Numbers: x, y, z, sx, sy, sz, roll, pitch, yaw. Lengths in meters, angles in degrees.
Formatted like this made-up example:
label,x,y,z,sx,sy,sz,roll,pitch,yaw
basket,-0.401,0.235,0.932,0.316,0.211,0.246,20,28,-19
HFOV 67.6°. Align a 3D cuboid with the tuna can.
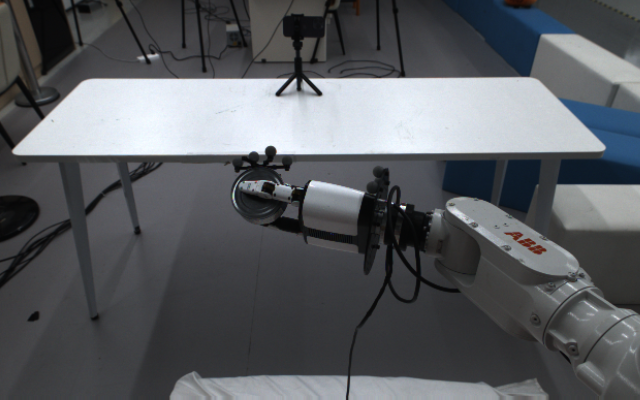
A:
label,x,y,z,sx,sy,sz,roll,pitch,yaw
tuna can,-0.087,-0.005,0.747,0.085,0.034,0.085,-2,69,6
